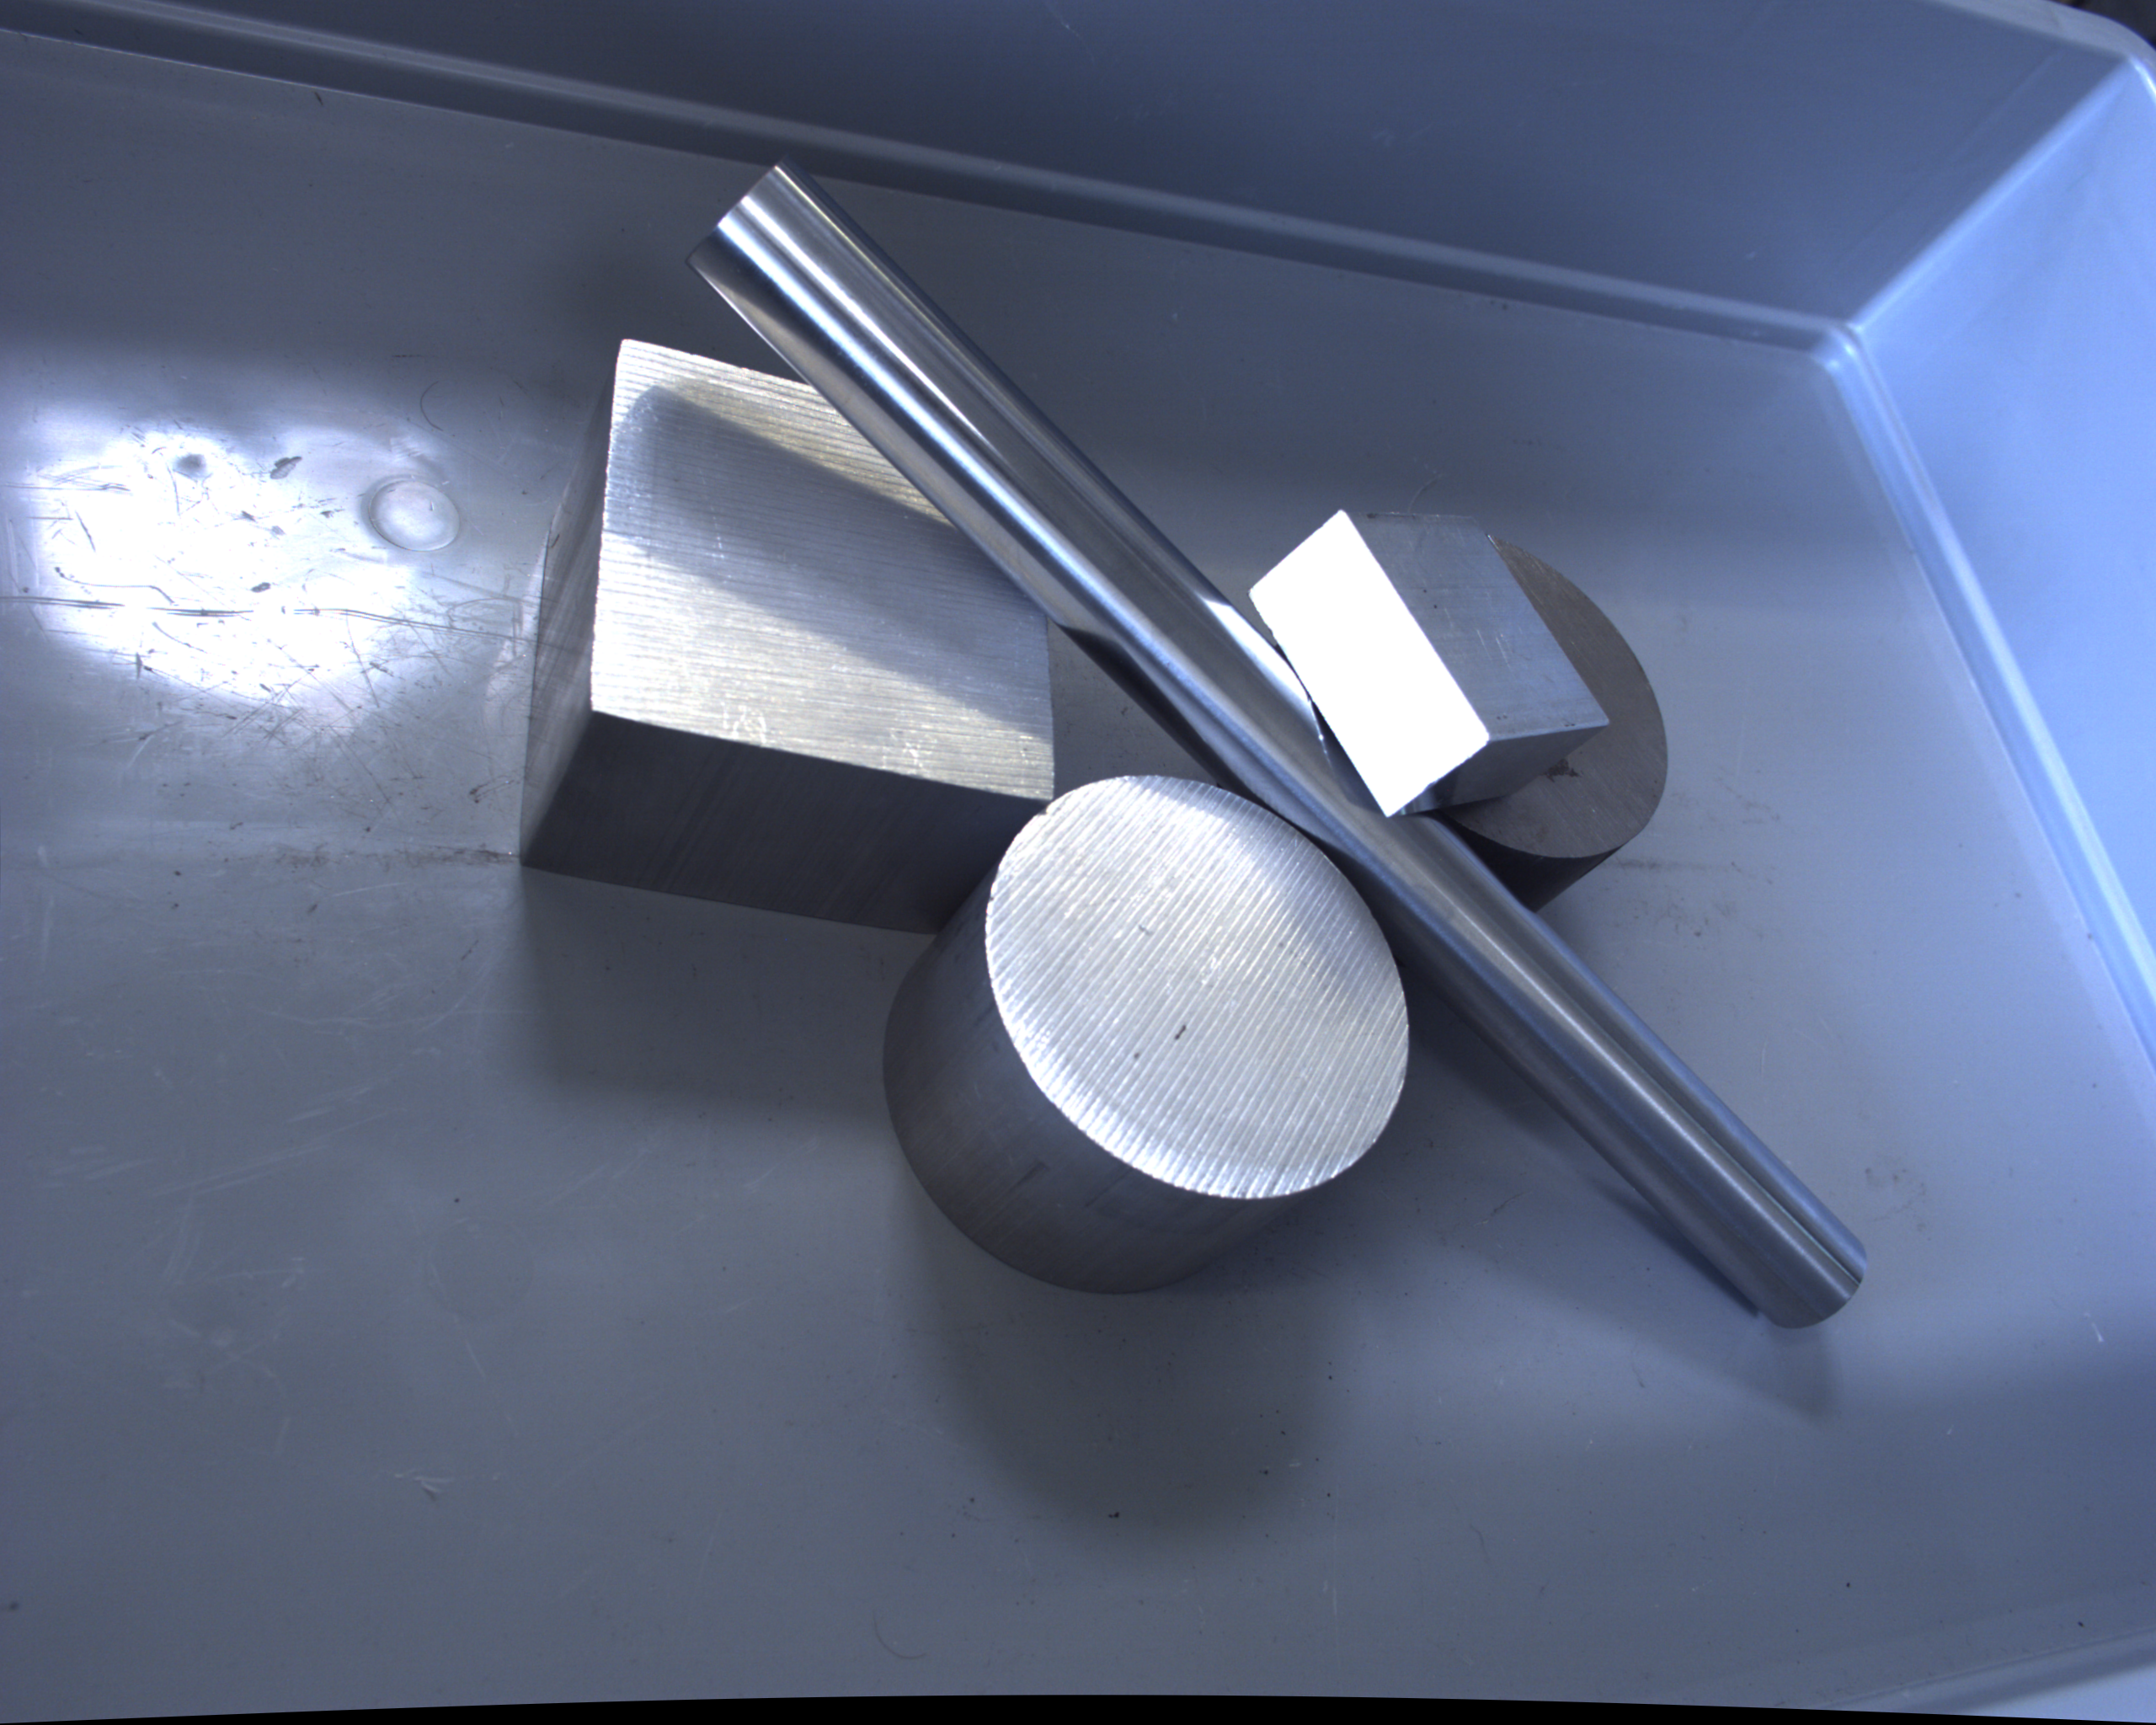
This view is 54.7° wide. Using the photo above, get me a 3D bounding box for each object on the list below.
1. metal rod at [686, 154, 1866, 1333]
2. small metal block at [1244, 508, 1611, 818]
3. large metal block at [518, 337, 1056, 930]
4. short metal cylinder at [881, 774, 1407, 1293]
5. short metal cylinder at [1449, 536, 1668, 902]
[{"bbox_3d":[0.048,-0.011,0.391,0.300,0.025,0.025,43,50,-17],"label":"metal rod"},{"bbox_3d":[0.066,-0.038,0.389,0.050,0.025,0.050,-11,66,-52],"label":"small metal block"},{"bbox_3d":[-0.053,-0.039,0.381,0.081,0.050,0.080,10,57,-23],"label":"large metal block"},{"bbox_3d":[0.011,0.031,0.375,0.081,0.050,0.080,14,56,-21],"label":"short metal cylinder"},{"bbox_3d":[0.077,-0.025,0.444,0.081,0.050,0.080,14,56,-21],"label":"short metal cylinder"}]
